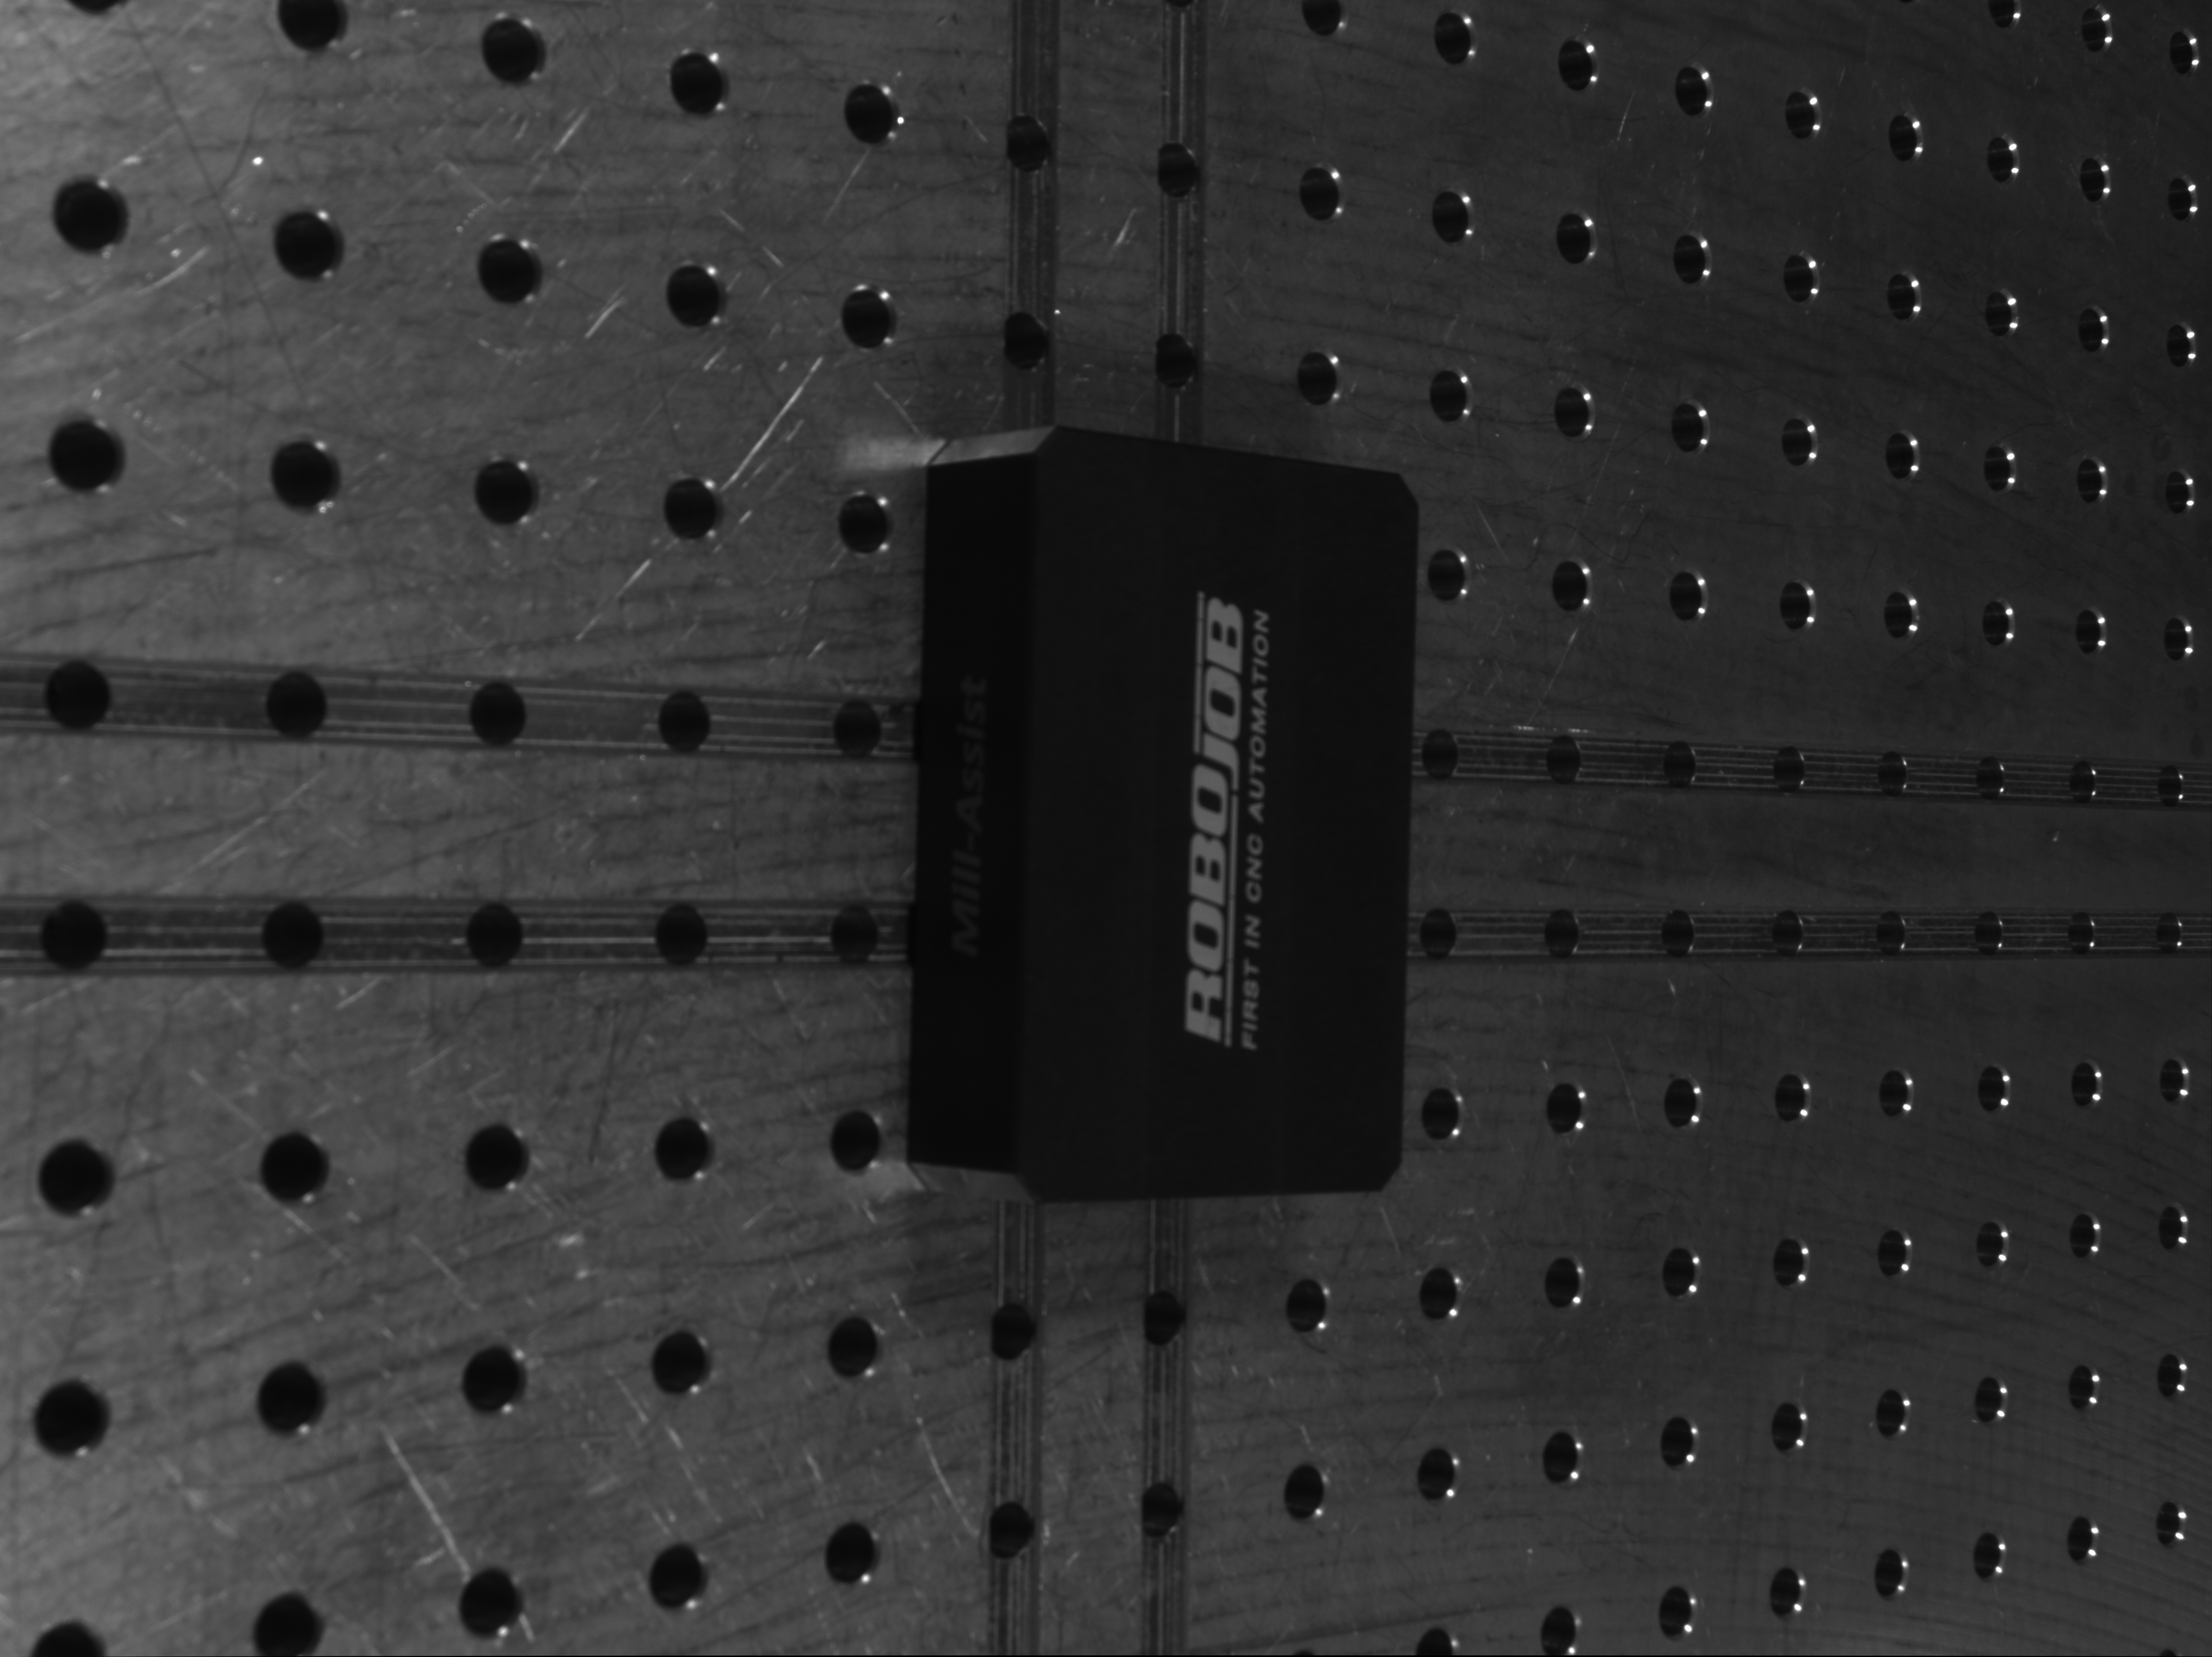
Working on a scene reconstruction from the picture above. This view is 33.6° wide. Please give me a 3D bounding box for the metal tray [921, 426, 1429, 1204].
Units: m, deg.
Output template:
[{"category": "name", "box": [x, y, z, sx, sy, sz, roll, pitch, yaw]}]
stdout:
[{"category": "metal tray", "box": [0.014, -0.001, 0.648, 0.090, 0.030, 0.130, 3, 88, -40]}]
